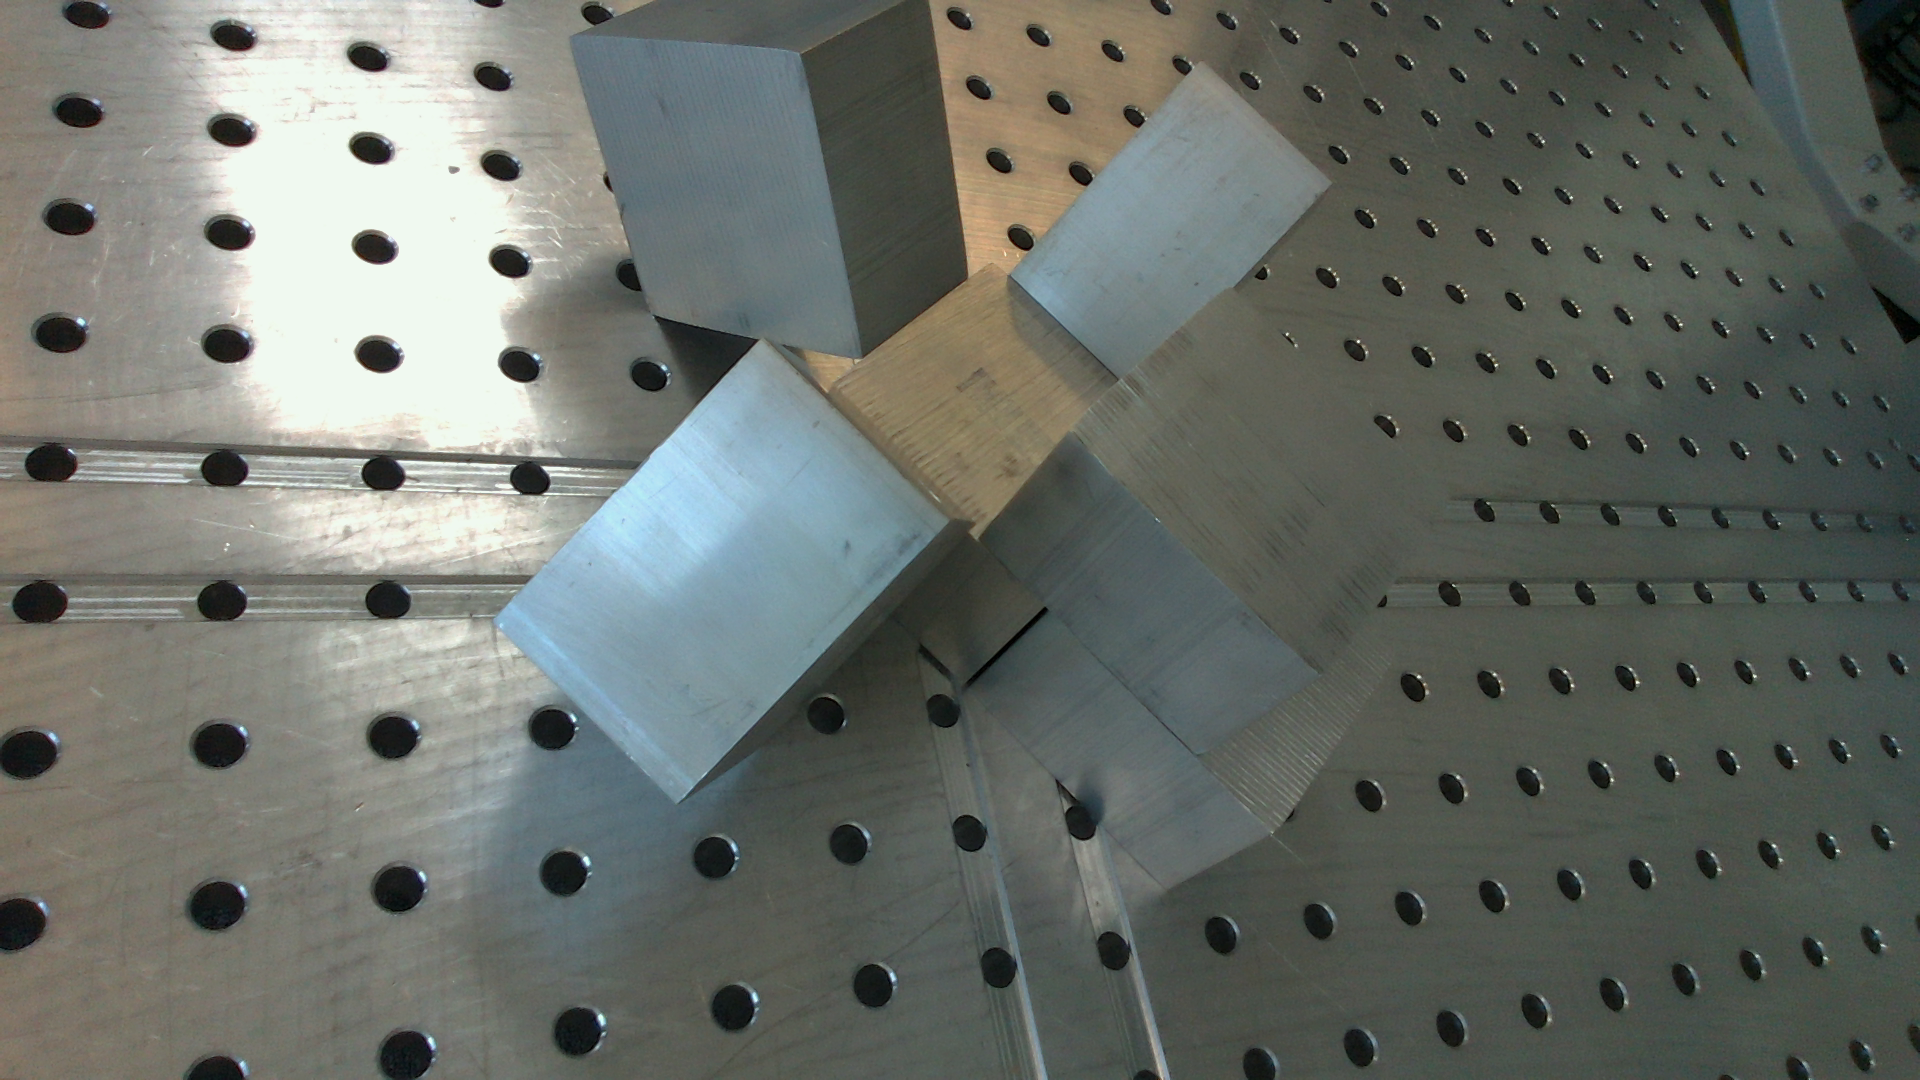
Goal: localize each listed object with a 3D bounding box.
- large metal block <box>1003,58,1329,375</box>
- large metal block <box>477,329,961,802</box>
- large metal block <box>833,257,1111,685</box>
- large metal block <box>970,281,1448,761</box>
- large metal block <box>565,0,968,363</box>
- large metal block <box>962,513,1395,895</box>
[{"bbox_3d":[0.064,-0.092,0.428,0.050,0.080,0.080,44,11,3],"label":"large metal block"},{"bbox_3d":[-0.047,0.005,0.309,0.050,0.080,0.080,43,92,3],"label":"large metal block"},{"bbox_3d":[0.004,-0.021,0.392,0.080,0.050,0.080,44,51,2],"label":"large metal block"},{"bbox_3d":[0.064,-0.006,0.349,0.080,0.050,0.080,45,50,2],"label":"large metal block"},{"bbox_3d":[-0.050,-0.102,0.373,0.080,0.080,0.050,16,42,32],"label":"large metal block"},{"bbox_3d":[0.062,0.036,0.387,0.080,0.050,0.080,44,50,4],"label":"large metal block"}]
